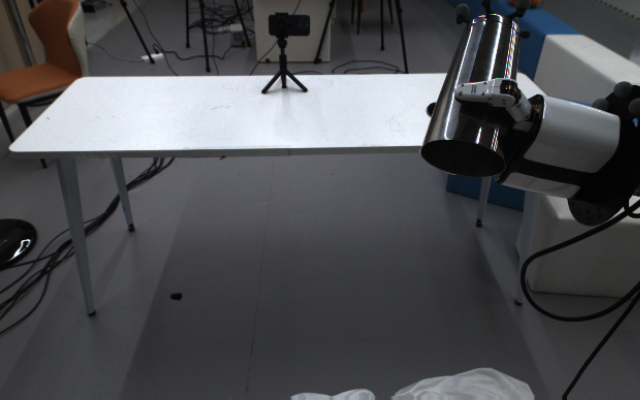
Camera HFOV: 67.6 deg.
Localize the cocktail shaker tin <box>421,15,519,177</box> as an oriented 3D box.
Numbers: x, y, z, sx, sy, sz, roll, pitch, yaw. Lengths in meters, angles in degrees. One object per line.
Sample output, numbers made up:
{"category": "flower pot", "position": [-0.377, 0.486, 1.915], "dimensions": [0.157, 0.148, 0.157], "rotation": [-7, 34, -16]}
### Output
{"category": "cocktail shaker tin", "position": [0.182, -0.122, 0.556], "dimensions": [0.093, 0.093, 0.170], "rotation": [13, 73, 15]}
